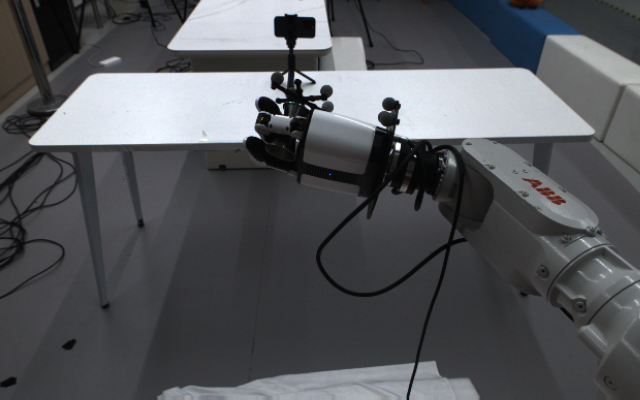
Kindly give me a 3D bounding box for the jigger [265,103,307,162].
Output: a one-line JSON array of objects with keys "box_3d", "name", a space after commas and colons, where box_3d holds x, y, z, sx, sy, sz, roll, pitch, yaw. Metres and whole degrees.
[{"box_3d": [-0.042, -0.093, 0.648, 0.043, 0.043, 0.071, 12, 72, 14], "name": "jigger"}]
